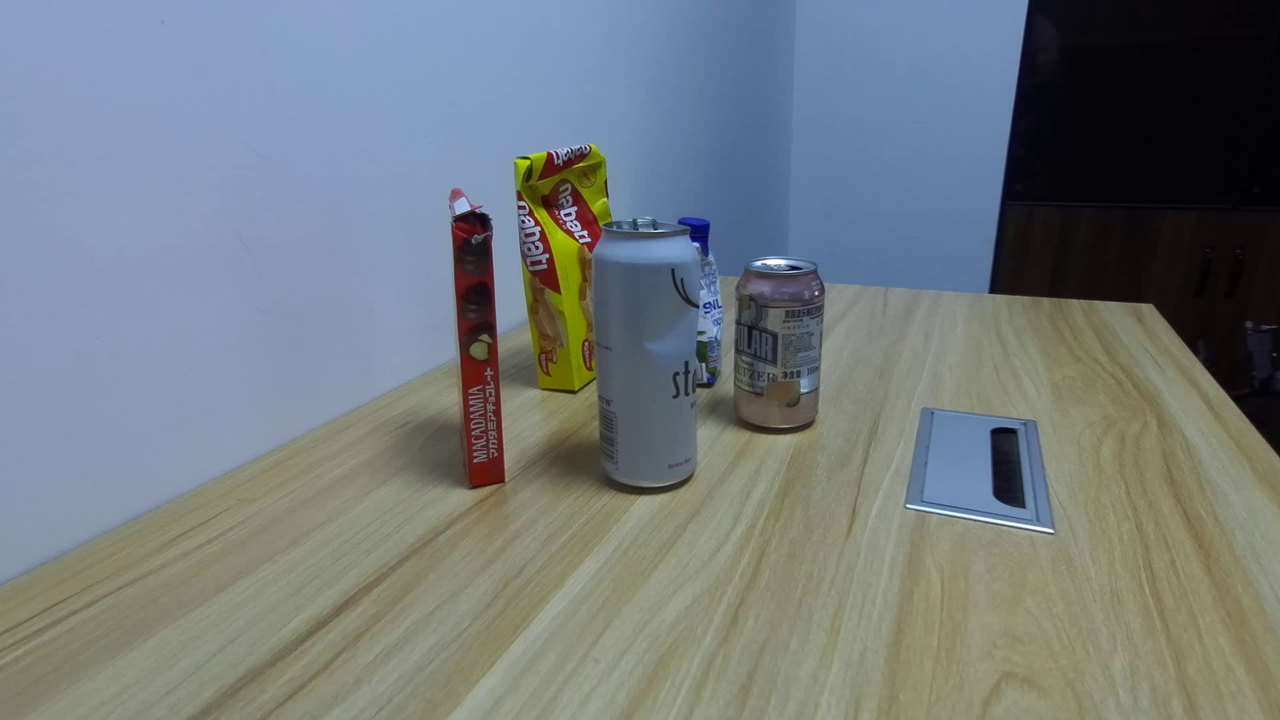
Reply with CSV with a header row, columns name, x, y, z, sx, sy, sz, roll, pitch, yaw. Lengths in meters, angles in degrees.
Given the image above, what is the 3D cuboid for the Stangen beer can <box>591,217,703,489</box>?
name,x,y,z,sx,sy,sz,roll,pitch,yaw
Stangen beer can,0.008,-0.004,0.458,0.069,0.173,0.070,7,19,21

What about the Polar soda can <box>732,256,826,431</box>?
name,x,y,z,sx,sy,sz,roll,pitch,yaw
Polar soda can,0.106,-0.012,0.540,0.067,0.125,0.067,-2,18,1

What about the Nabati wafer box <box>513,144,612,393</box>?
name,x,y,z,sx,sy,sz,roll,pitch,yaw
Nabati wafer box,-0.059,-0.080,0.627,0.042,0.205,0.113,5,21,26

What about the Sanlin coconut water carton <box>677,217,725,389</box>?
name,x,y,z,sx,sy,sz,roll,pitch,yaw
Sanlin coconut water carton,0.039,-0.052,0.637,0.068,0.144,0.057,-6,8,14

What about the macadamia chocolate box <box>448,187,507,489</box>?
name,x,y,z,sx,sy,sz,roll,pitch,yaw
macadamia chocolate box,-0.113,-0.018,0.485,0.027,0.187,0.102,-4,20,-15
